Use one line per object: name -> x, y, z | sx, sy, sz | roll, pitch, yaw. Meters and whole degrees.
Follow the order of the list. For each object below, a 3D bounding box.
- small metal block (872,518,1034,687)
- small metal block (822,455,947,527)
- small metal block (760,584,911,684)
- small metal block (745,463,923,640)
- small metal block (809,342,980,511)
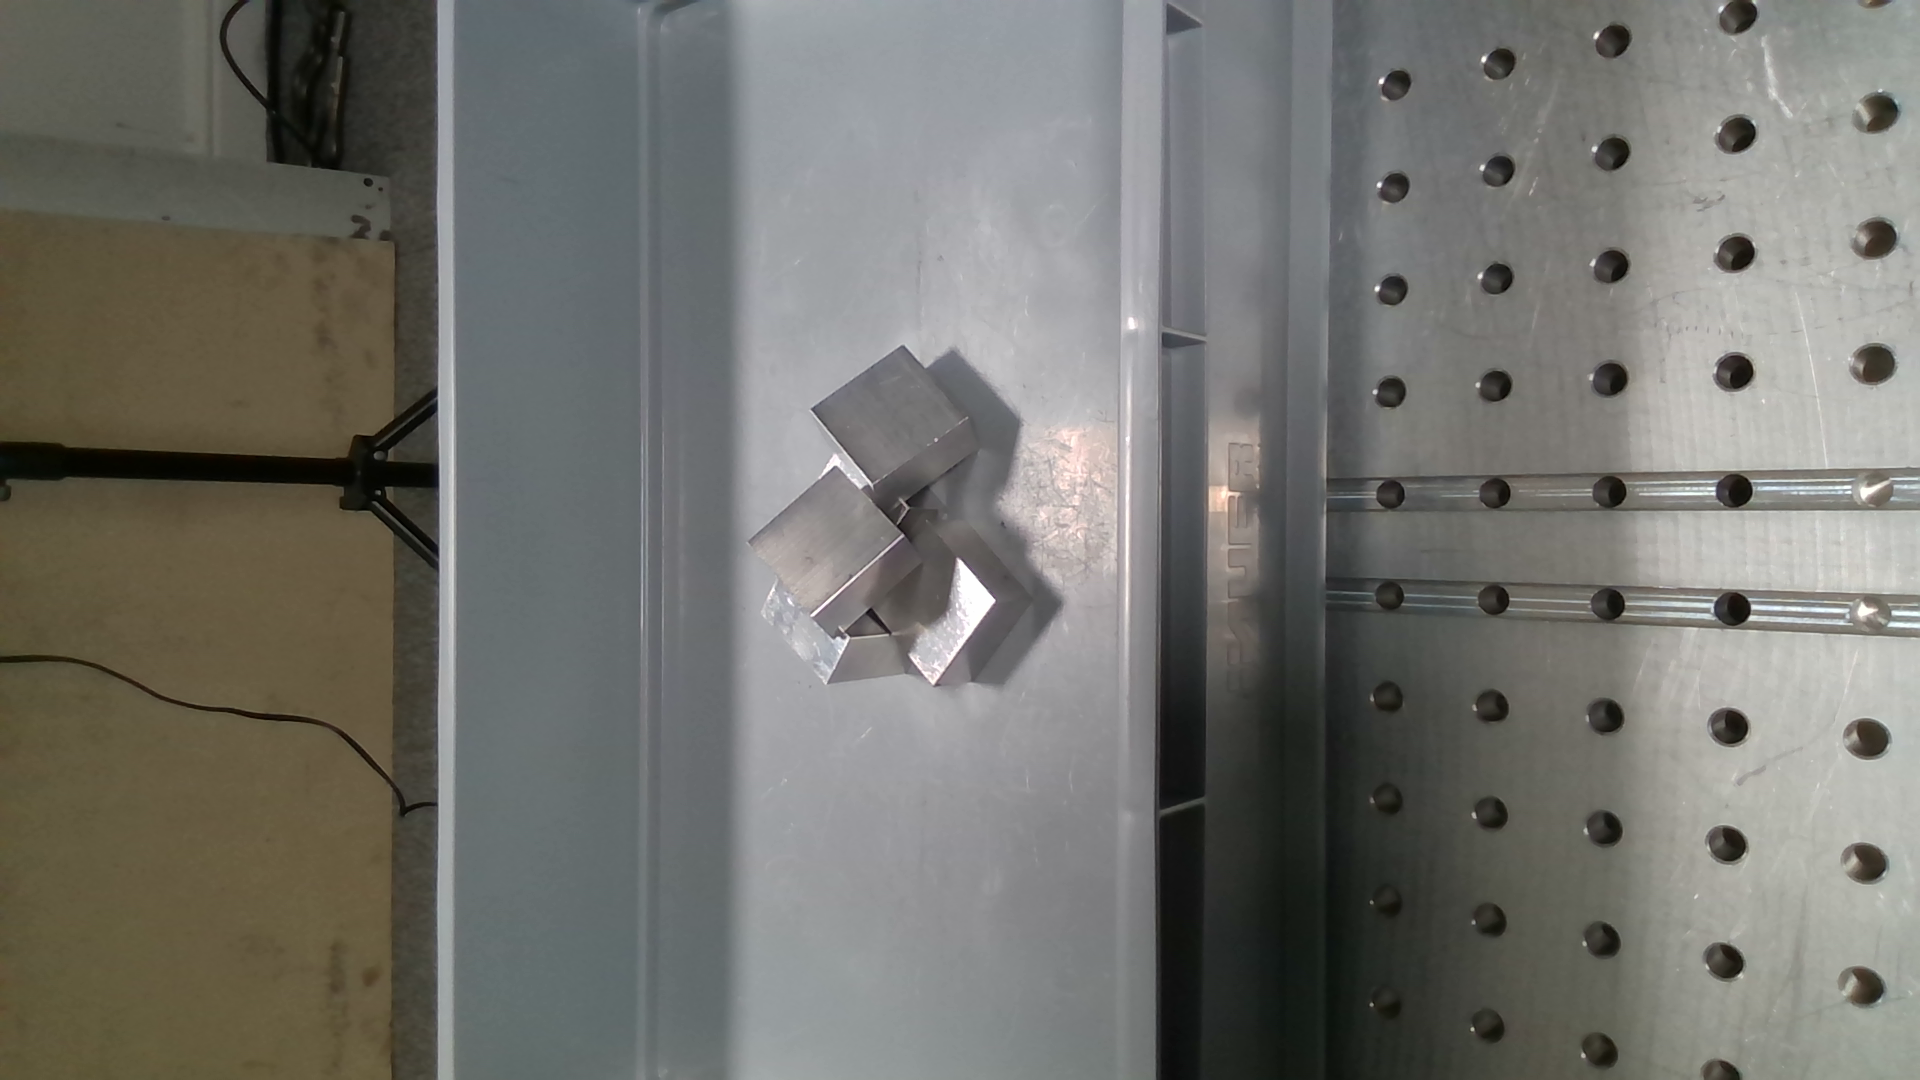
small metal block -> -0.004, 0.026, 0.584 | 0.050, 0.025, 0.050 | 50, 120, 28
small metal block -> -0.041, -0.012, 0.615 | 0.050, 0.025, 0.050 | 50, 120, 28
small metal block -> -0.051, 0.036, 0.607 | 0.050, 0.050, 0.025 | 43, 116, 32
small metal block -> -0.053, 0.005, 0.577 | 0.050, 0.025, 0.050 | -42, 59, -5
small metal block -> -0.028, -0.048, 0.587 | 0.050, 0.025, 0.050 | -36, 61, -8
